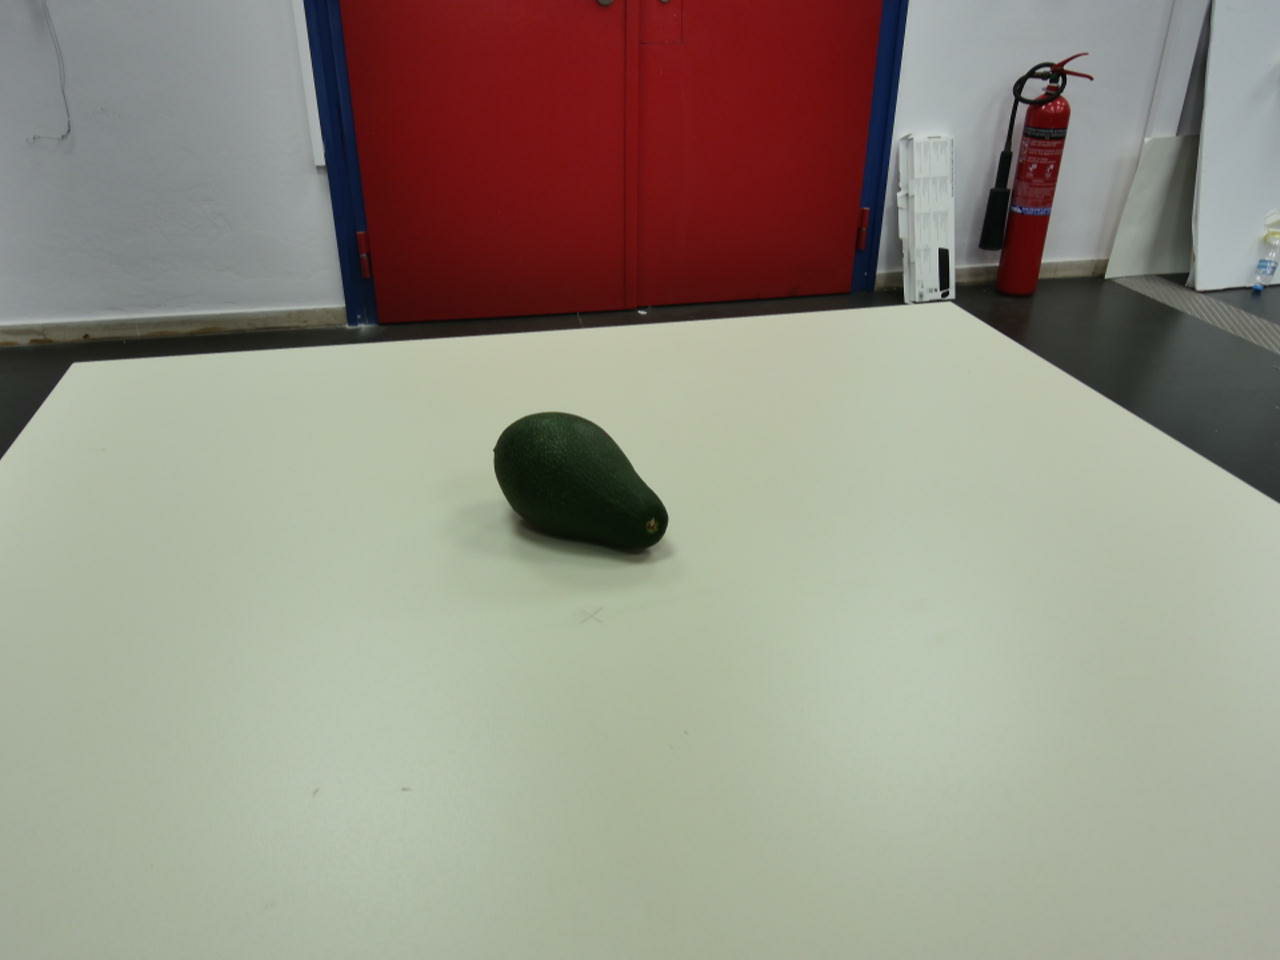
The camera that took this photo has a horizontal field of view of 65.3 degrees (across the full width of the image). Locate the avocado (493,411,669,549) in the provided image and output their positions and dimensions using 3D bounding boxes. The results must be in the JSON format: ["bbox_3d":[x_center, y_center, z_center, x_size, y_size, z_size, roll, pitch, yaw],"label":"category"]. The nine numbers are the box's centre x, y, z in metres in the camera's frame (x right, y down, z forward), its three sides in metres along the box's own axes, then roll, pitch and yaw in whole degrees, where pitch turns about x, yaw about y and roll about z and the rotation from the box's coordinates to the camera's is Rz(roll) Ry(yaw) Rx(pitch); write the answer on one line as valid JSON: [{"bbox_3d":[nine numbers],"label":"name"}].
[{"bbox_3d":[-0.038,0.001,0.581,0.072,0.071,0.109,-18,31,-31],"label":"avocado"}]
